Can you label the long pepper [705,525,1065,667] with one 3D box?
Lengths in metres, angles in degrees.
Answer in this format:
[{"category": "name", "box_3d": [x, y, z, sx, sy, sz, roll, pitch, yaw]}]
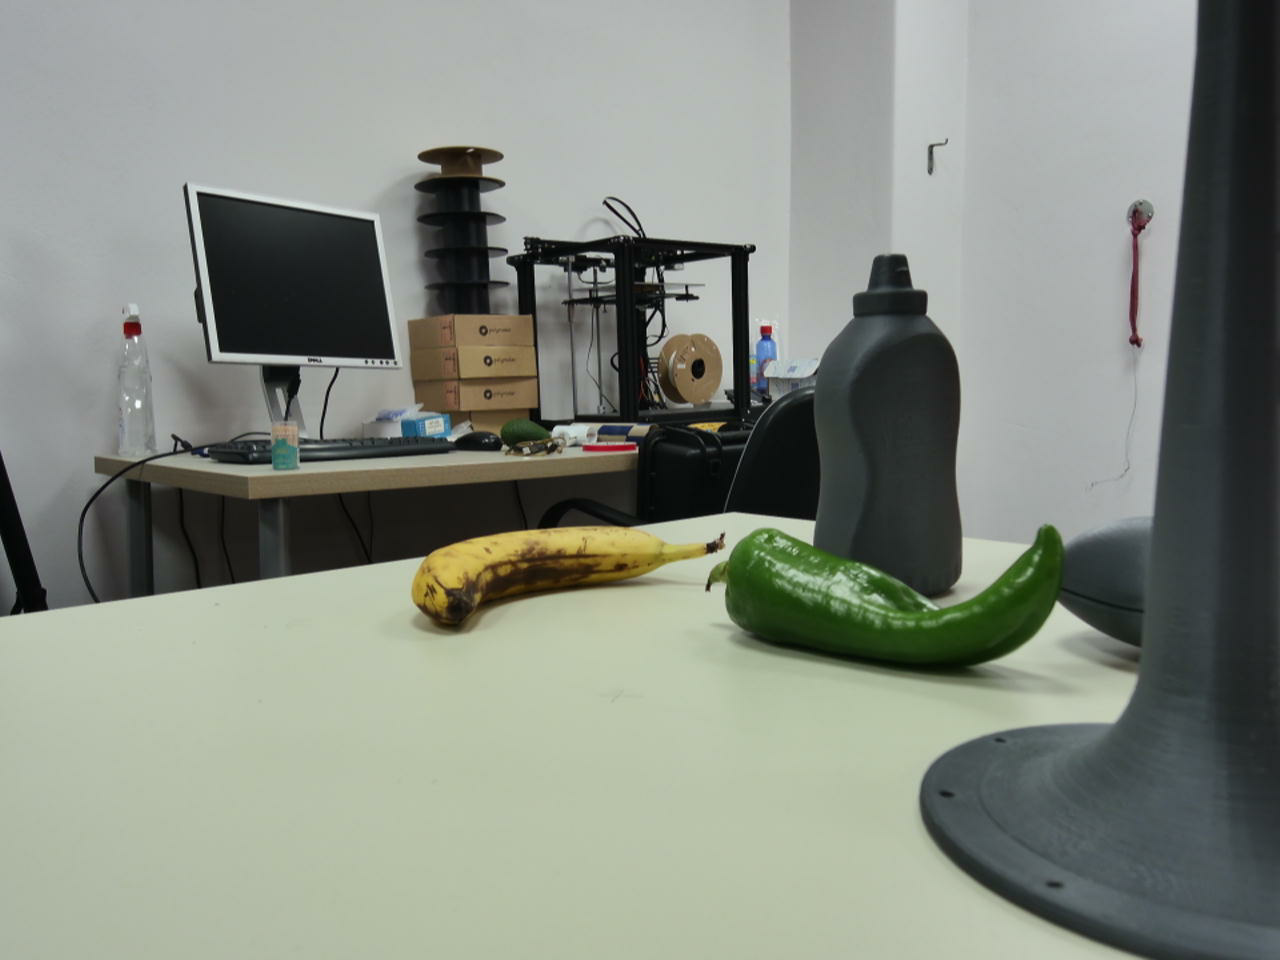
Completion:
[{"category": "long pepper", "box_3d": [0.100, 0.047, 0.454, 0.058, 0.065, 0.175, -2, 4, -42]}]
